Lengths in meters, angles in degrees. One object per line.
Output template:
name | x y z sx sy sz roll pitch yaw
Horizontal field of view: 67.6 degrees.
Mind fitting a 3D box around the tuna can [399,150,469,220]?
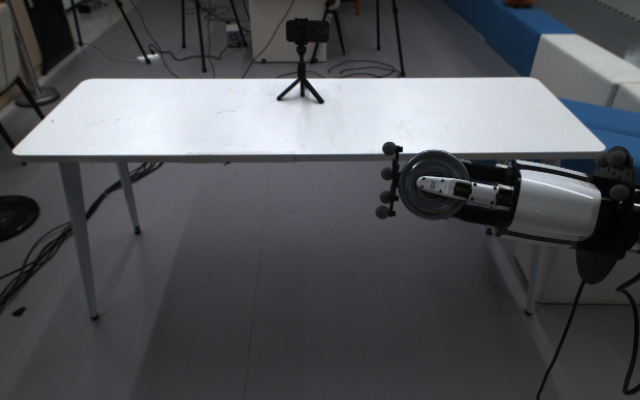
tuna can | 0.141 -0.021 0.593 0.085 0.085 0.034 10 1 11
